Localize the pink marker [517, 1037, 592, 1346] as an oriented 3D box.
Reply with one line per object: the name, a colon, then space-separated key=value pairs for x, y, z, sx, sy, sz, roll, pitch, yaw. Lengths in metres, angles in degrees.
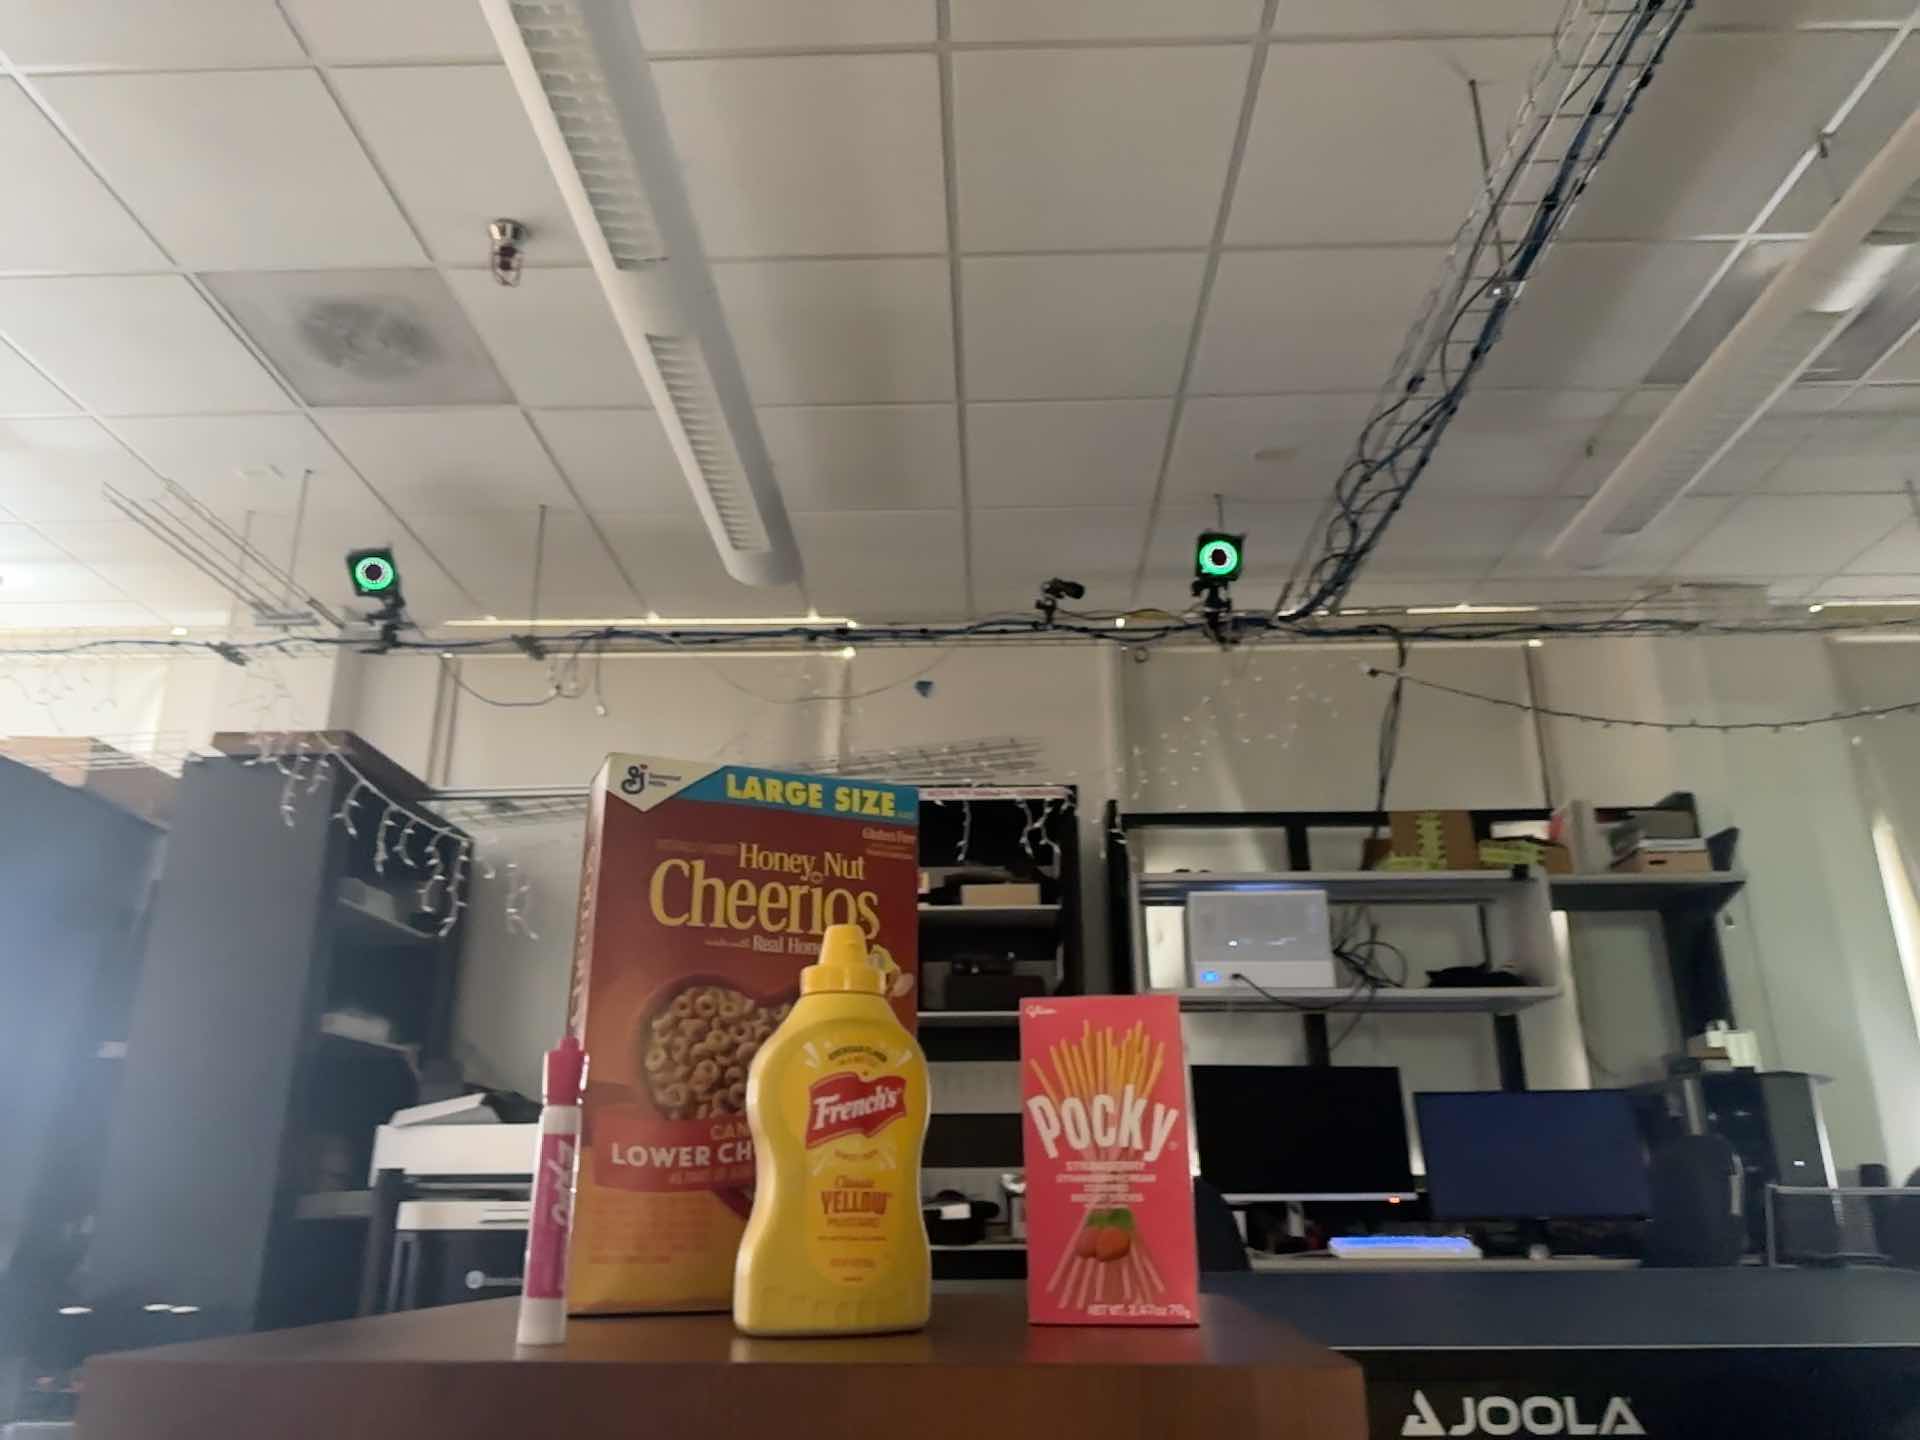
pink marker: x=-0.169 y=0.194 z=0.565 sx=0.020 sy=0.121 sz=0.020 roll=0 pitch=-19 yaw=0

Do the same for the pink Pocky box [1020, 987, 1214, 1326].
pink Pocky box: x=0.074 y=0.209 z=0.659 sx=0.084 sy=0.154 sz=0.029 roll=-1 pitch=-18 yaw=0

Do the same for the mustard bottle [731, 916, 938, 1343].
mustard bottle: x=-0.057 y=0.182 z=0.621 sx=0.092 sy=0.184 sz=0.054 roll=6 pitch=-19 yaw=-22

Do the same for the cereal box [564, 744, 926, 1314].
cereal box: x=-0.124 y=0.175 z=0.790 sx=0.195 sy=0.296 sz=0.065 roll=9 pitch=-20 yaw=-25
